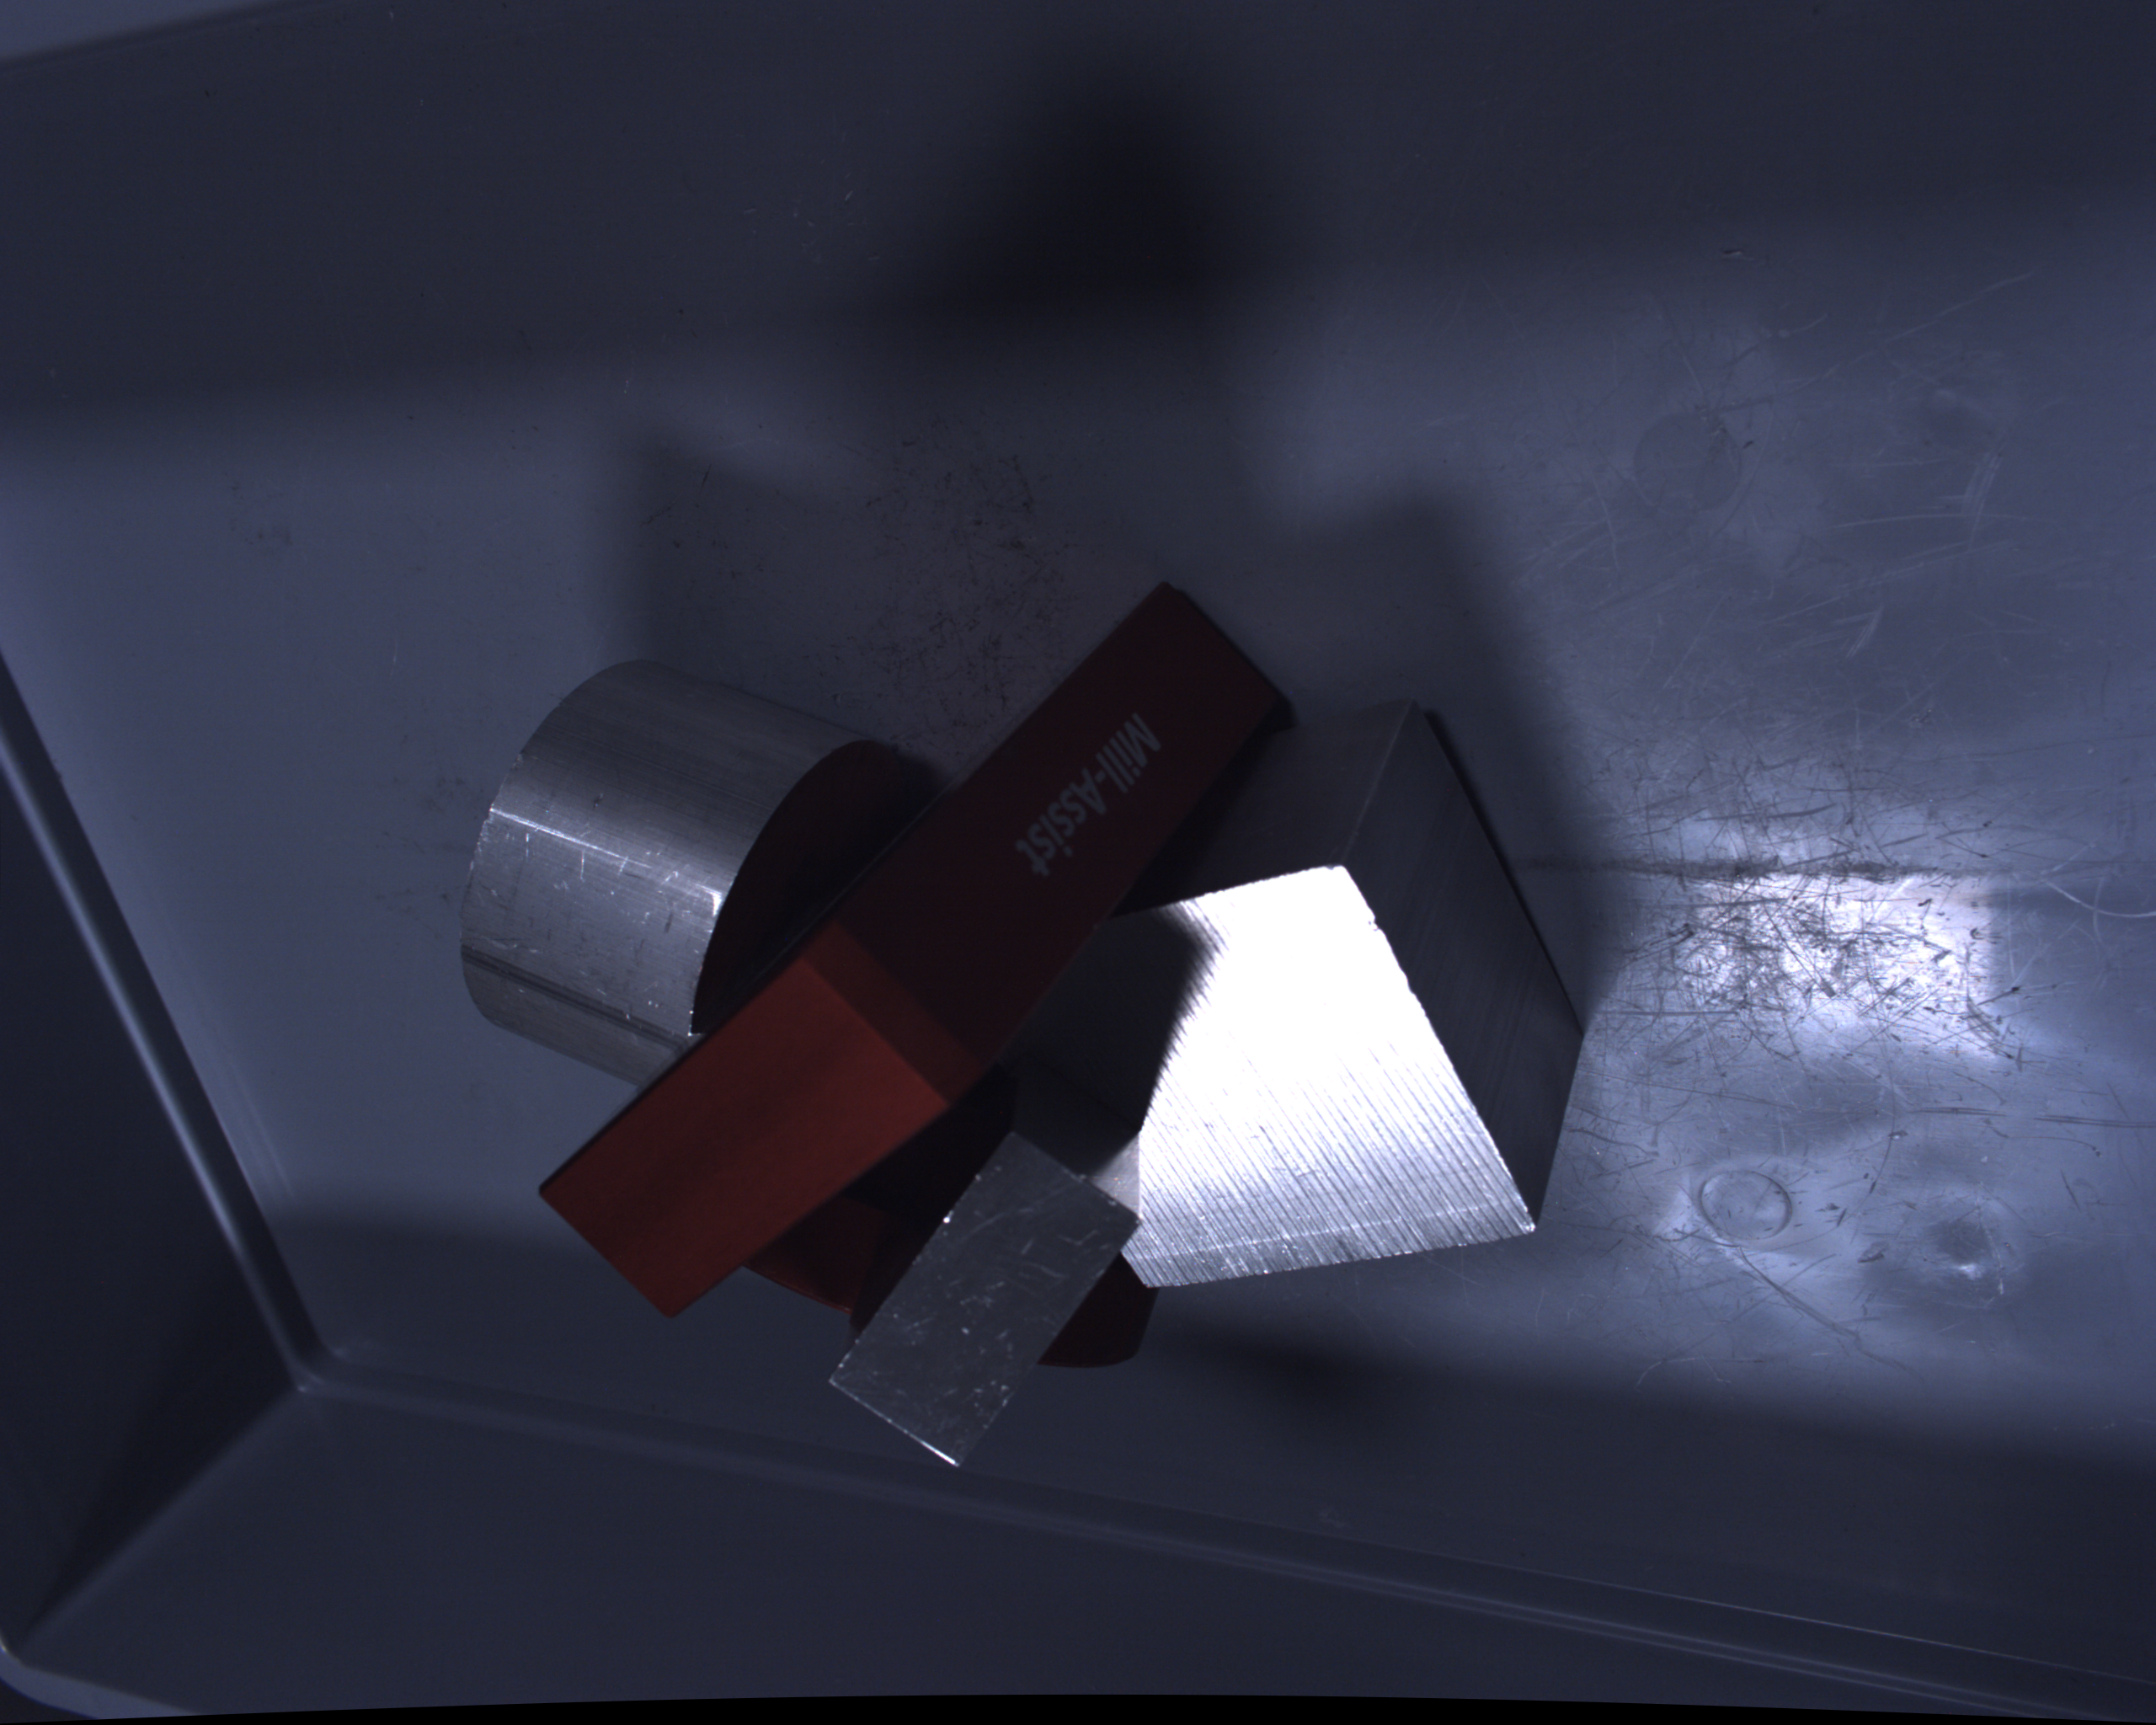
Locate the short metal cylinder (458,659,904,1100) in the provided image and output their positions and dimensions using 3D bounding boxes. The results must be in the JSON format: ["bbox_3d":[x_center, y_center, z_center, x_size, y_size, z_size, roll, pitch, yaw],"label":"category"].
[{"bbox_3d":[-0.076,0.005,0.413,0.050,0.080,0.079,21,126,16],"label":"short metal cylinder"}]

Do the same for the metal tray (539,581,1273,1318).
[{"bbox_3d":[-0.025,0.011,0.357,0.030,0.131,0.090,46,128,-5],"label":"metal tray"}]

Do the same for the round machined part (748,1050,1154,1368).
[{"bbox_3d":[-0.028,0.064,0.424,0.098,0.098,0.042,19,90,17],"label":"round machined part"}]

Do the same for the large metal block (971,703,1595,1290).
[{"bbox_3d":[0.036,0.027,0.377,0.080,0.050,0.080,-15,115,34],"label":"large metal block"}]

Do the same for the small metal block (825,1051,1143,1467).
[{"bbox_3d":[-0.014,0.064,0.348,0.025,0.050,0.050,35,97,-4],"label":"small metal block"}]
